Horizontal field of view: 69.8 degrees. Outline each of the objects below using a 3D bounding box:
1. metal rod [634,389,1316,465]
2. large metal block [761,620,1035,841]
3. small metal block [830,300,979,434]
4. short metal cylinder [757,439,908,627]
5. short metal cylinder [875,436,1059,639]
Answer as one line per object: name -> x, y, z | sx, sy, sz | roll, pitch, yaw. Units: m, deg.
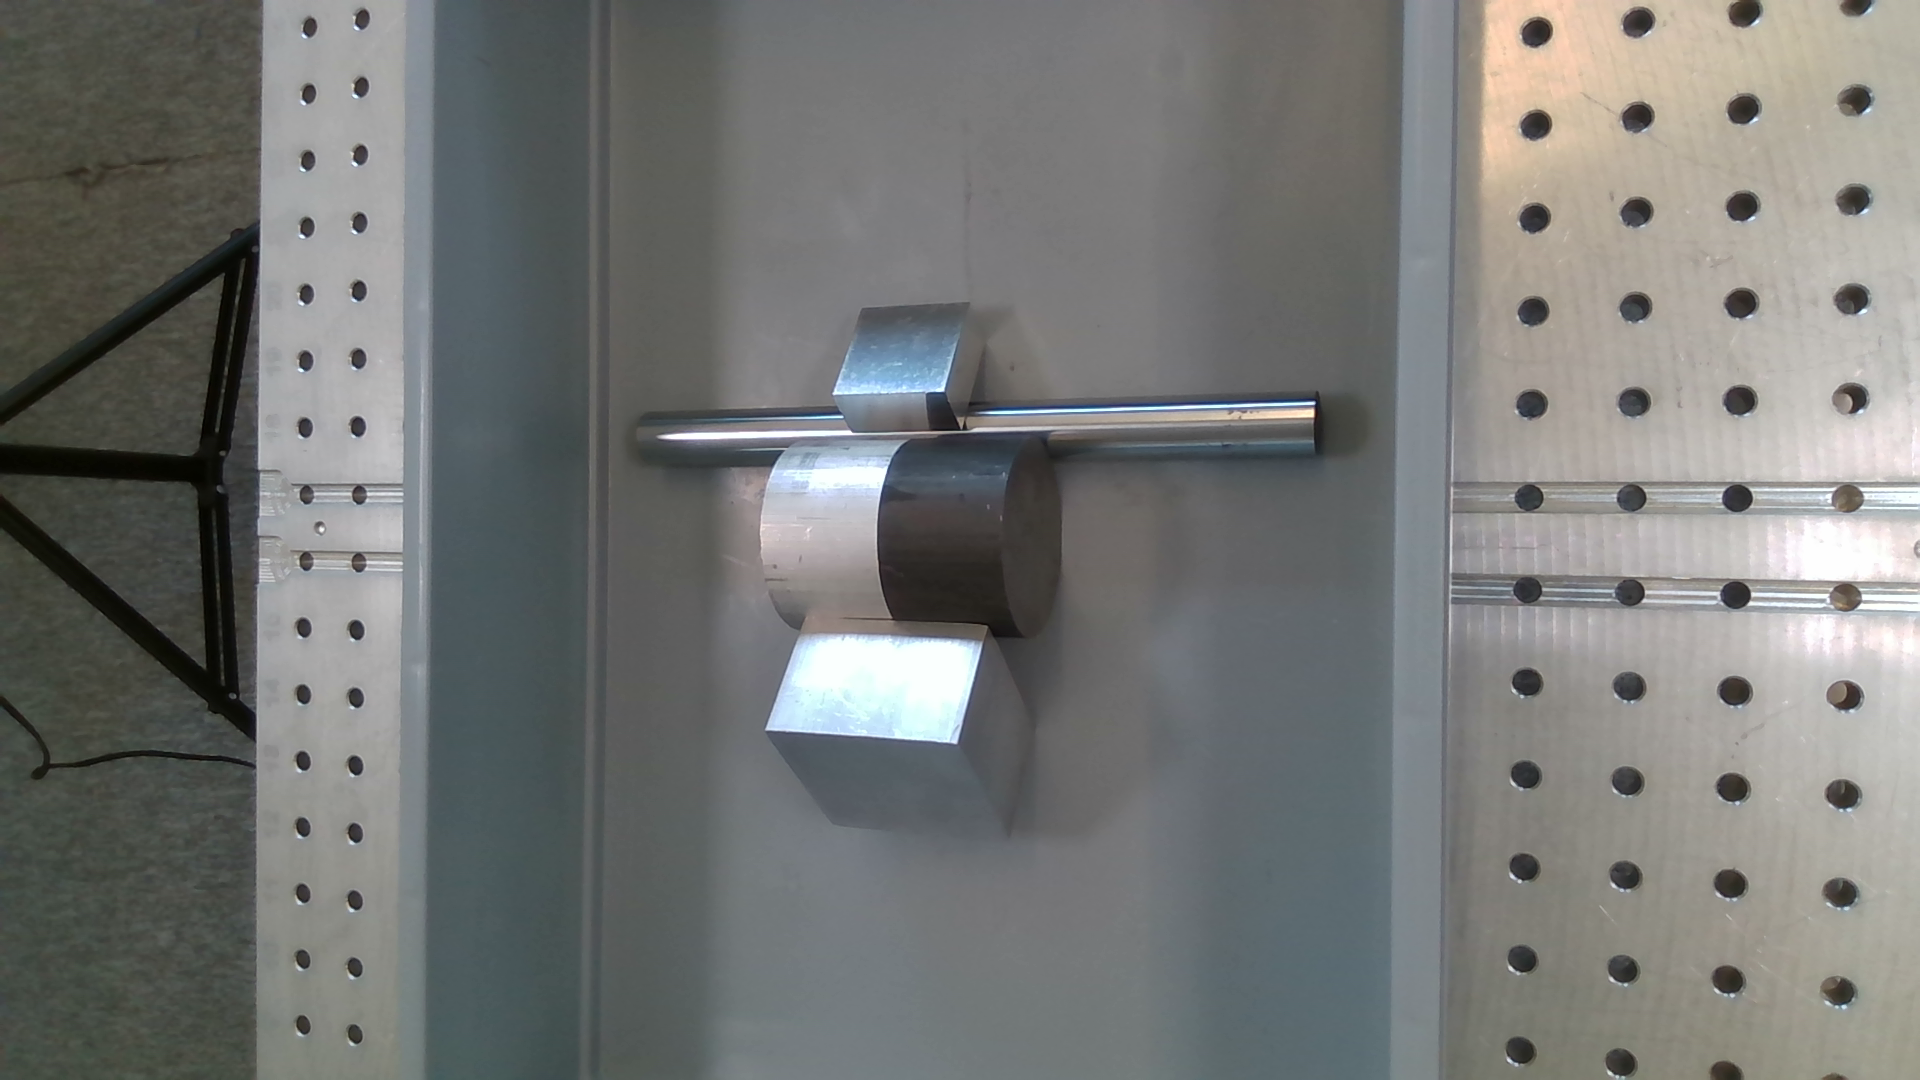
metal rod -> -0.003, -0.047, 0.584 | 0.300, 0.025, 0.025 | 0, 91, 20
large metal block -> -0.022, 0.077, 0.556 | 0.080, 0.080, 0.050 | 1, 53, 21
small metal block -> -0.022, -0.073, 0.580 | 0.050, 0.025, 0.050 | 0, 56, 19
short metal cylinder -> -0.043, -0.001, 0.571 | 0.050, 0.080, 0.080 | 1, 91, 20
short metal cylinder -> 0.005, -0.001, 0.553 | 0.050, 0.080, 0.080 | 1, 91, 20
